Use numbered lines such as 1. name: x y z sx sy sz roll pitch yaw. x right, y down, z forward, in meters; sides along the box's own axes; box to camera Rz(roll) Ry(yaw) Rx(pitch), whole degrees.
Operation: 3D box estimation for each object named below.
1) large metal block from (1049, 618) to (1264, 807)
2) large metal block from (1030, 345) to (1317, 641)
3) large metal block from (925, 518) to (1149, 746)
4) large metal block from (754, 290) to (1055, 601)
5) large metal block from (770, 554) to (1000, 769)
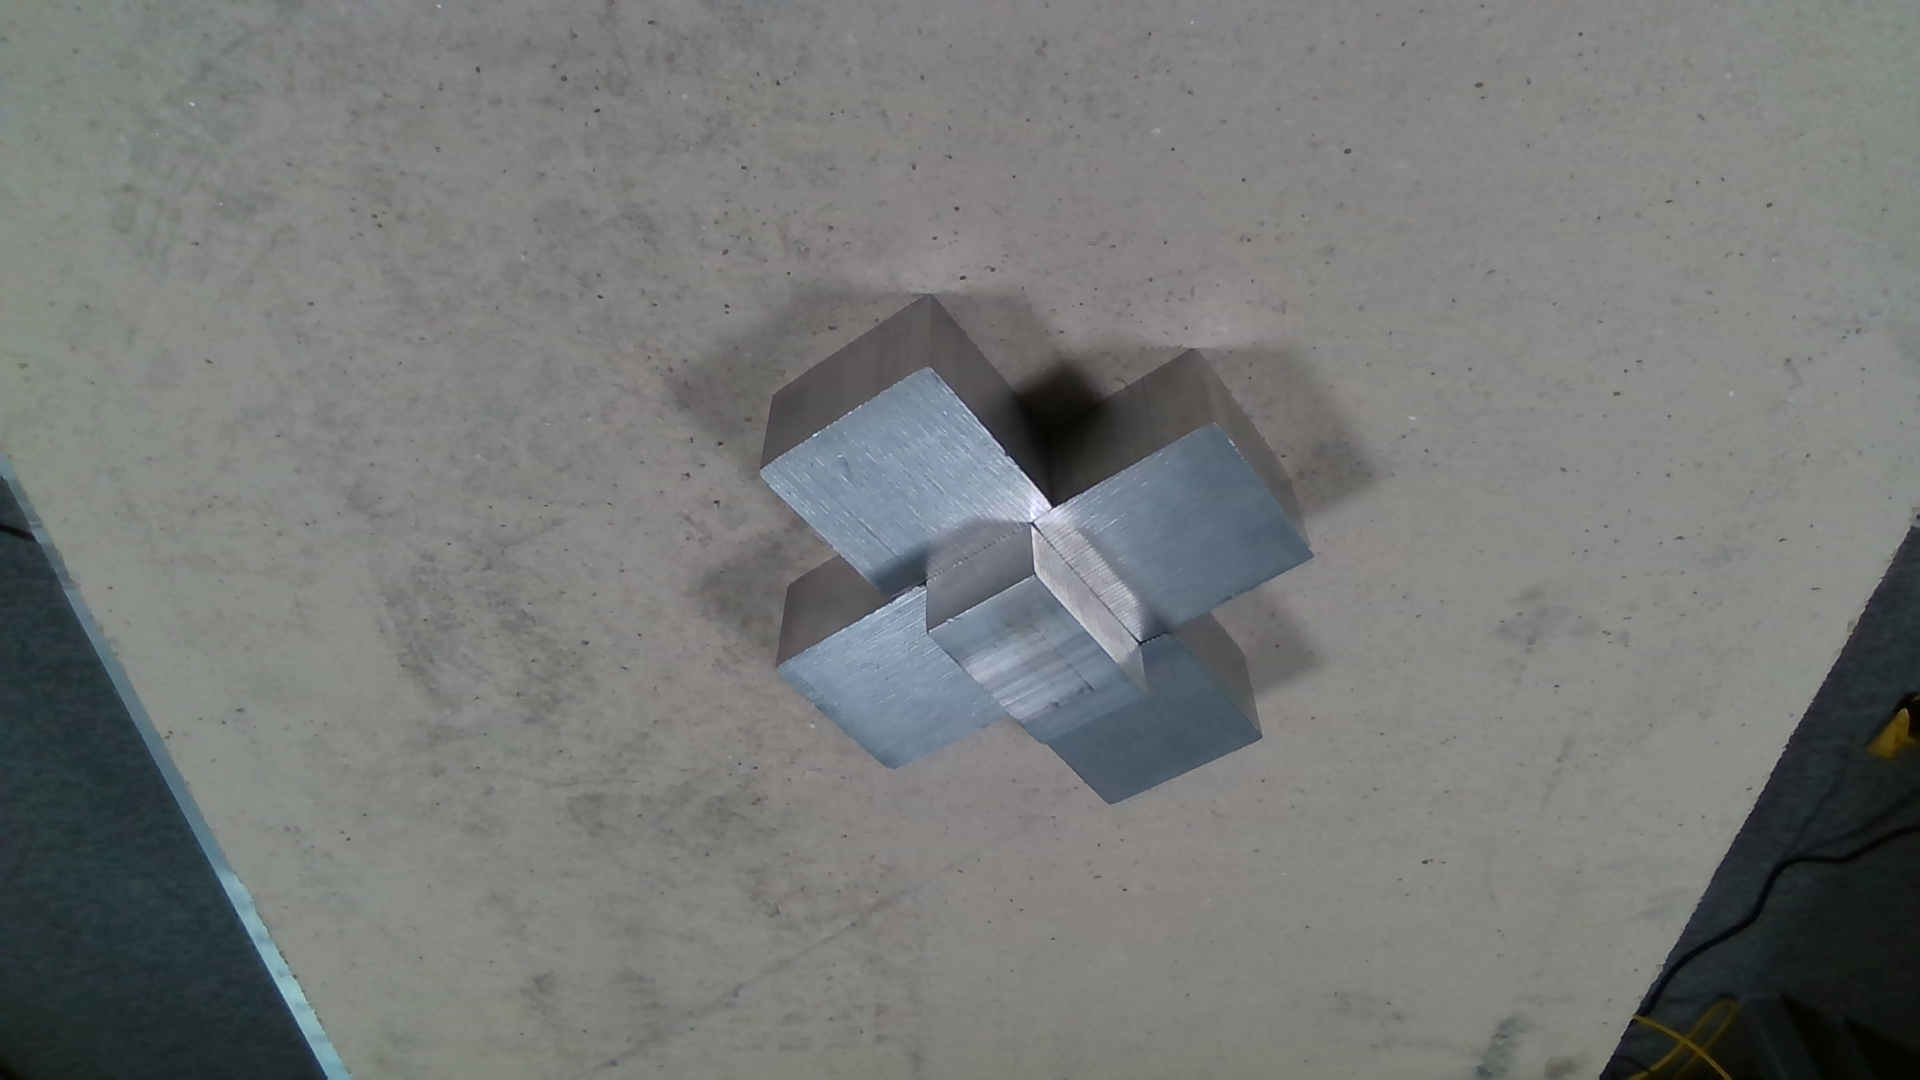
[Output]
1. large metal block: 0.077 0.064 0.615 0.080 0.050 0.080 -30 124 23
2. large metal block: 0.083 -0.016 0.548 0.080 0.050 0.080 -30 124 23
3. large metal block: 0.031 0.022 0.562 0.050 0.080 0.080 -30 124 22
4. large metal block: -0.020 -0.035 0.533 0.080 0.050 0.080 -30 124 23
5. large metal block: -0.023 0.043 0.598 0.080 0.050 0.080 -30 124 23
